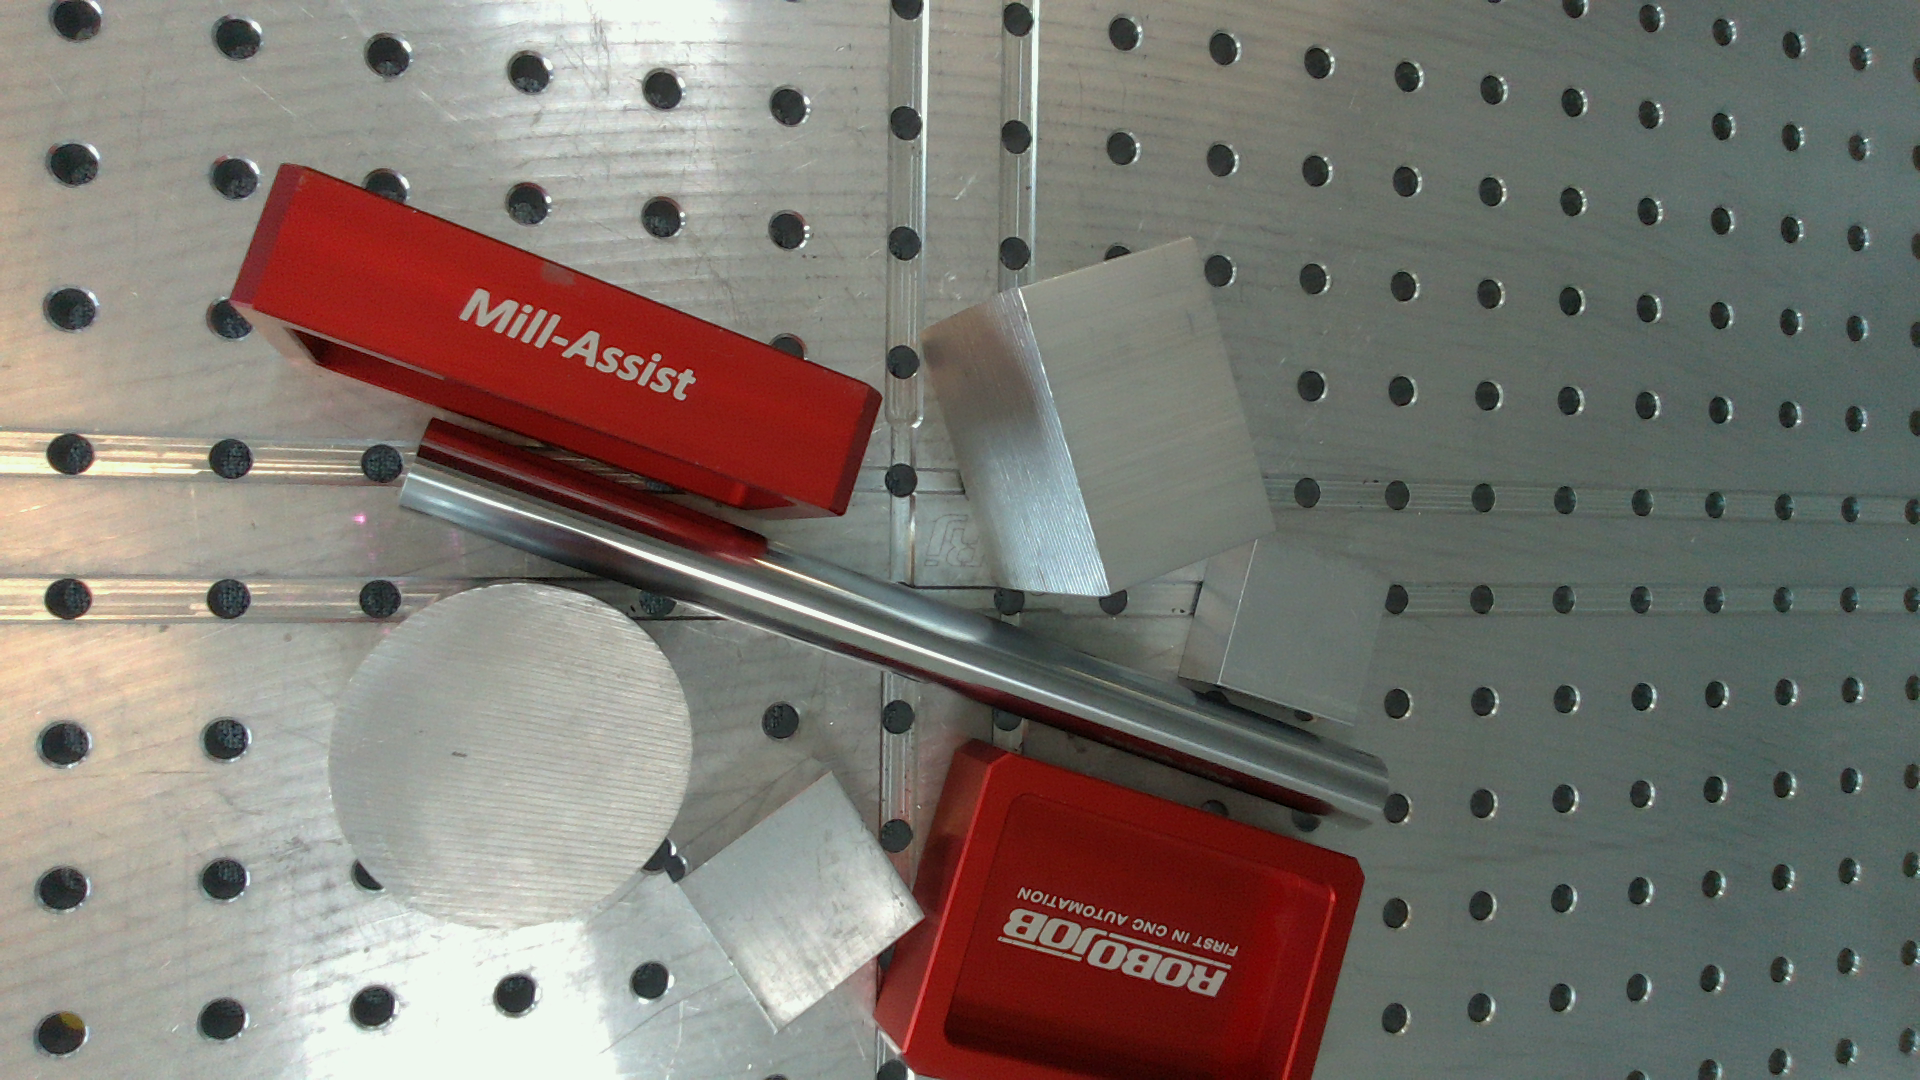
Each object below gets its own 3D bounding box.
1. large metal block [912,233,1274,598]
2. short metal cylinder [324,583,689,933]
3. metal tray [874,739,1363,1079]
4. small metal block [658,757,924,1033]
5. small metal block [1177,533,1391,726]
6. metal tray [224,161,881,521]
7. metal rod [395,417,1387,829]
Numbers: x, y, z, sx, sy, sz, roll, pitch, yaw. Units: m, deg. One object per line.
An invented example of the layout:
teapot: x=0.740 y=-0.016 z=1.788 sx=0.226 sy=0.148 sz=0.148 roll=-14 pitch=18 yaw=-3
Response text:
large metal block: x=0.033 y=-0.032 z=0.380 sx=0.050 sy=0.080 sz=0.080 roll=-20 pitch=97 yaw=-19
short metal cylinder: x=-0.111 y=0.050 z=0.341 sx=0.080 sy=0.050 sz=0.080 roll=0 pitch=90 yaw=-20
metal tray: x=0.049 y=0.121 z=0.411 sx=0.130 sy=0.030 sz=0.090 roll=19 pitch=84 yaw=-19
small metal block: x=-0.047 y=0.097 z=0.380 sx=0.050 sy=0.025 sz=0.050 roll=-34 pitch=101 yaw=-17
small metal block: x=0.102 y=0.027 z=0.433 sx=0.050 sy=0.025 sz=0.050 roll=18 pitch=84 yaw=-19
metal tray: x=-0.093 y=-0.040 z=0.326 sx=0.130 sy=0.090 sz=0.030 roll=20 pitch=84 yaw=-19
metal rod: x=-0.004 y=0.031 z=0.394 sx=0.301 sy=0.025 sz=0.025 roll=21 pitch=83 yaw=-19
